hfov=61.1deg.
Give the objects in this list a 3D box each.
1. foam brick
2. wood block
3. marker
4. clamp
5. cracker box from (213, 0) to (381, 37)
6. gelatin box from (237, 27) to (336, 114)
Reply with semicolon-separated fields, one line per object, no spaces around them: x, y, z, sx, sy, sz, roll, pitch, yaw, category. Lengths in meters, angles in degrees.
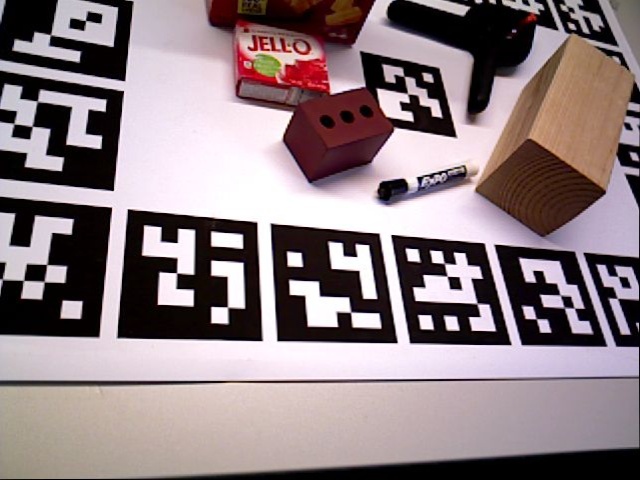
0.018;-0.089;0.484;0.076;0.052;0.052;-22;75;-29;foam brick
0.253;-0.110;0.569;0.090;0.093;0.202;33;54;0;wood block
0.099;-0.049;0.514;0.119;0.020;0.019;-16;73;-27;marker
0.195;-0.236;0.638;0.198;0.037;0.165;-28;78;-30;clamp
0.005;-0.293;0.479;0.162;0.219;0.071;1;62;-23;cracker box
-0.033;-0.159;0.516;0.088;0.031;0.072;3;65;-20;gelatin box
